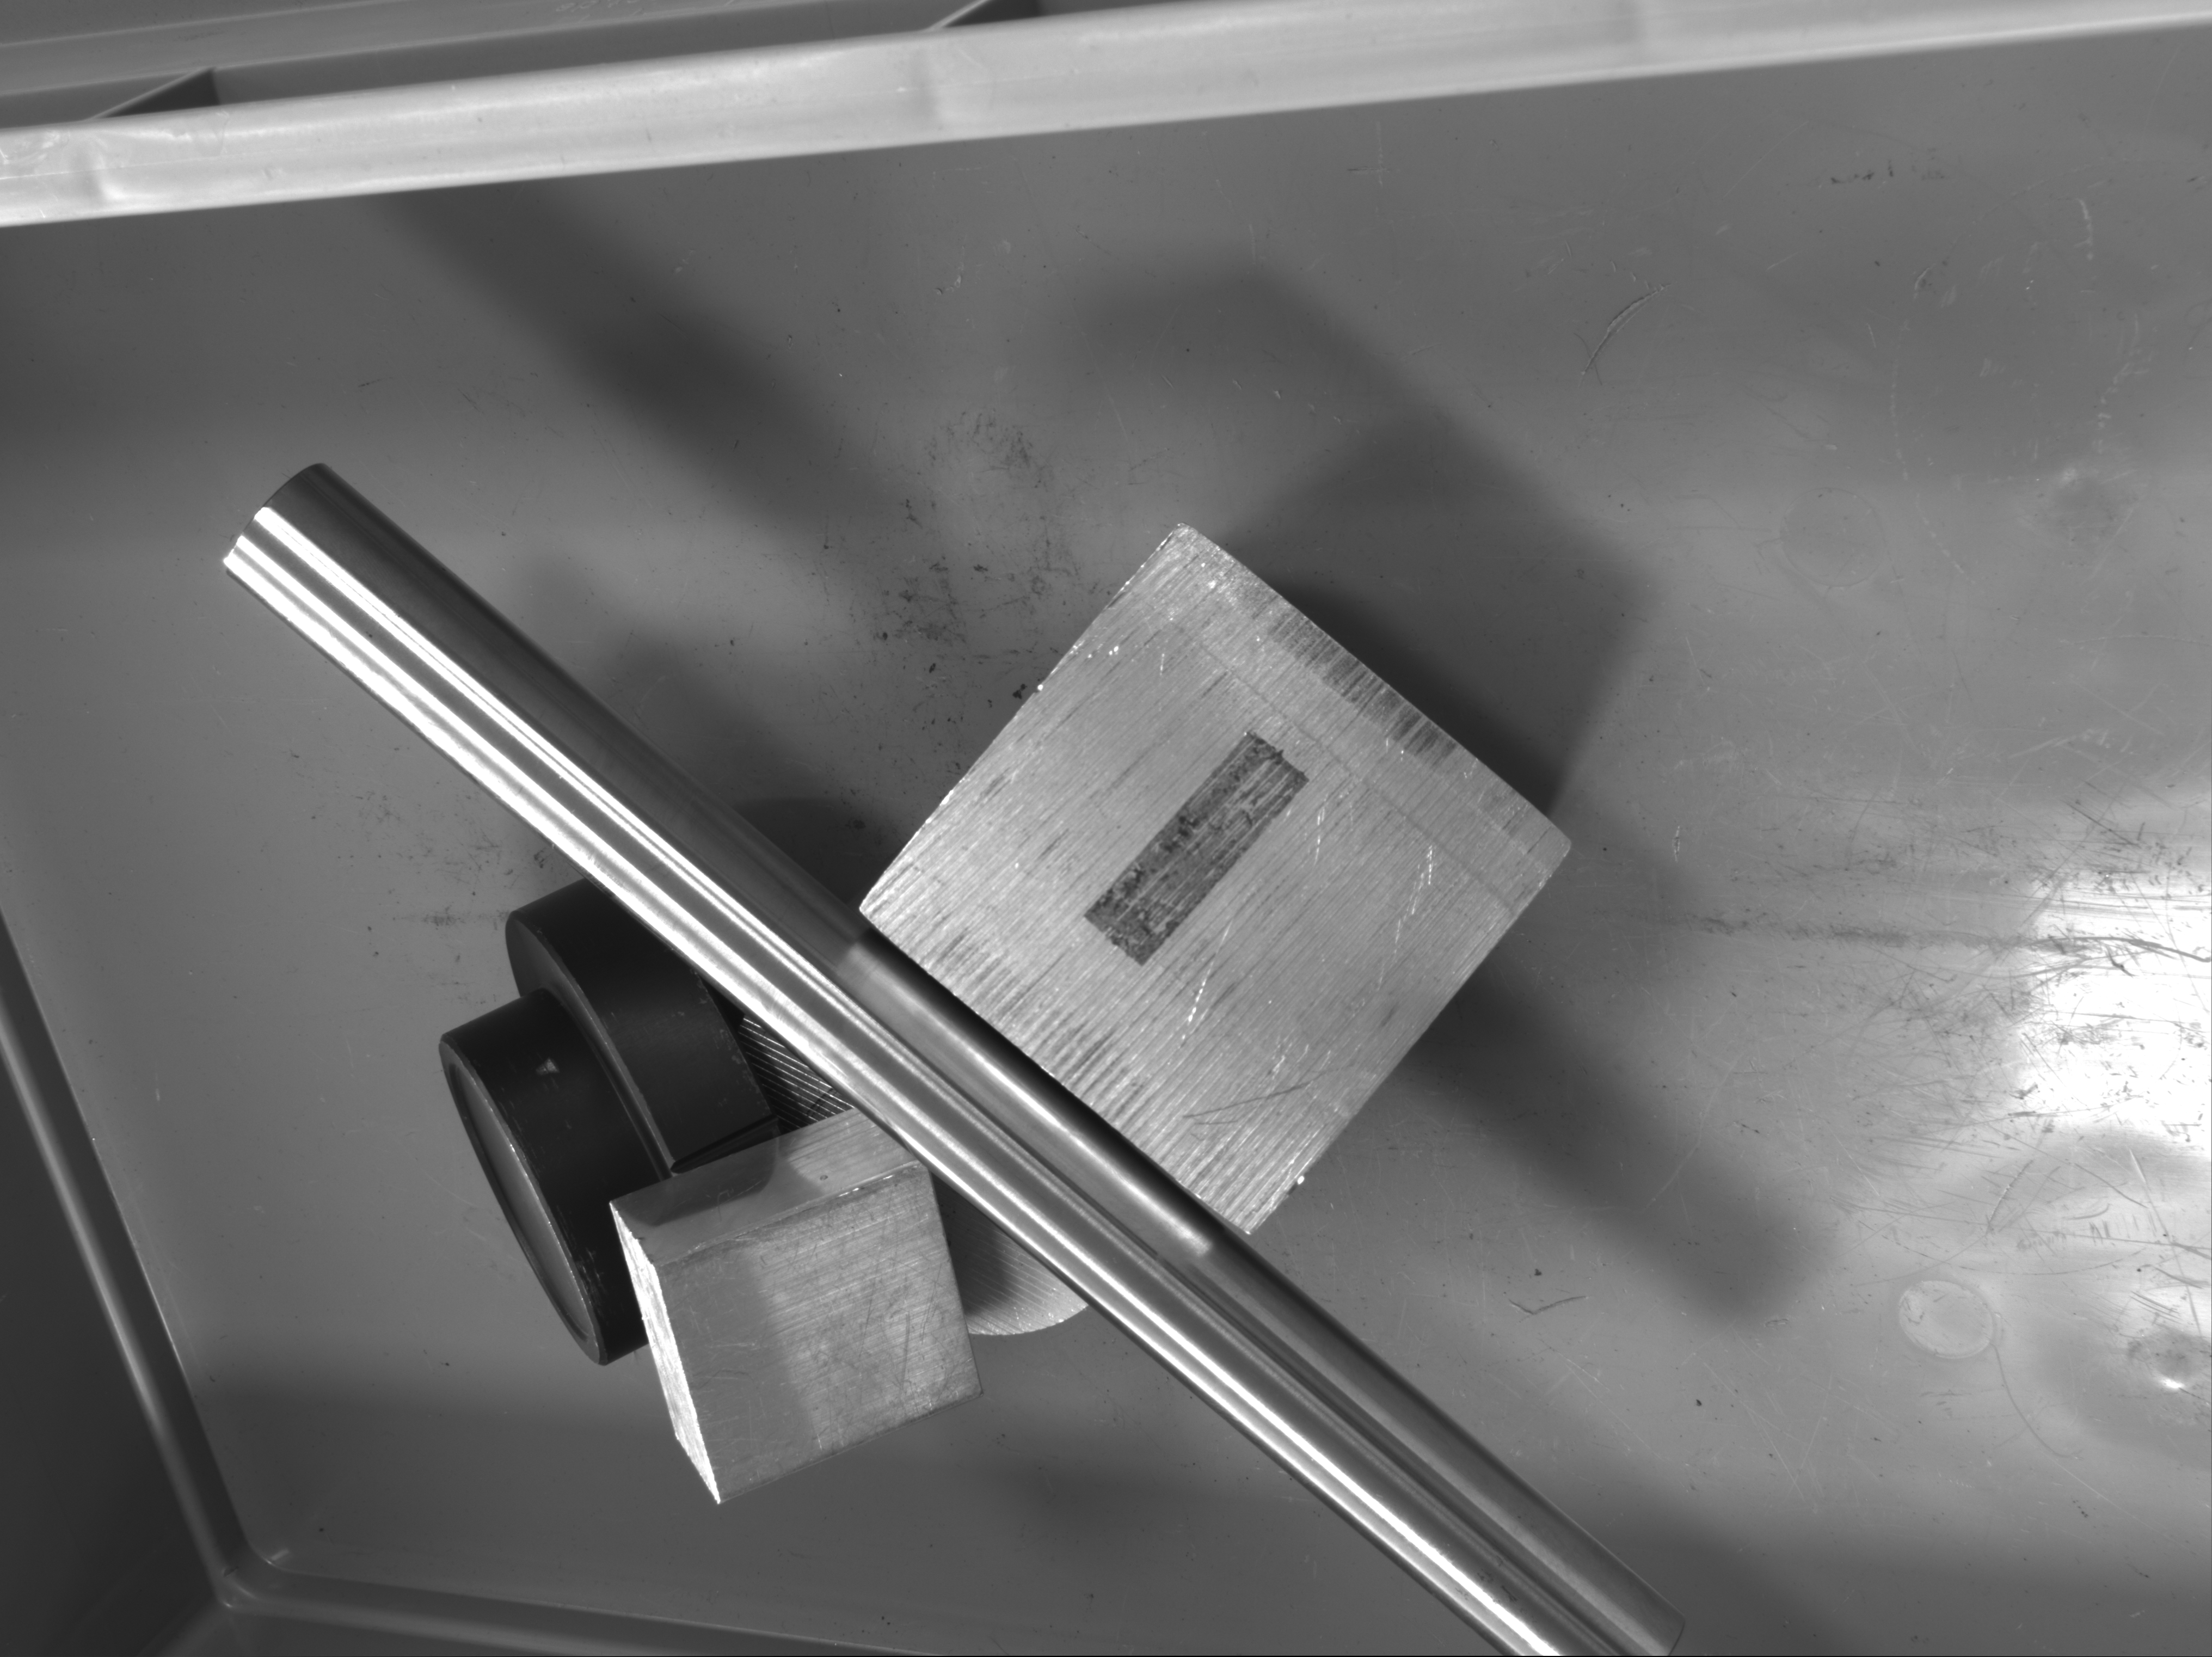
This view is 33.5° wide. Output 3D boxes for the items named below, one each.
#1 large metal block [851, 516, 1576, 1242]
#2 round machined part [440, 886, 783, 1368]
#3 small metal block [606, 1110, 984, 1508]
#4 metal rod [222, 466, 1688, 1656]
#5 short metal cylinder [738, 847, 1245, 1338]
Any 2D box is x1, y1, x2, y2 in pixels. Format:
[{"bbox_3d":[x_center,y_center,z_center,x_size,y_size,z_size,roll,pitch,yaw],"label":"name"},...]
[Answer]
[{"bbox_3d":[0.016,0.009,0.594,0.080,0.050,0.080,39,86,2],"label":"large metal block"},{"bbox_3d":[-0.090,0.061,0.682,0.098,0.042,0.098,54,161,29],"label":"round machined part"},{"bbox_3d":[-0.053,0.082,0.637,0.025,0.050,0.050,40,146,58],"label":"small metal block"},{"bbox_3d":[-0.026,0.045,0.618,0.300,0.025,0.025,40,129,1],"label":"metal rod"},{"bbox_3d":[-0.021,0.044,0.663,0.080,0.050,0.080,13,124,21],"label":"short metal cylinder"}]
